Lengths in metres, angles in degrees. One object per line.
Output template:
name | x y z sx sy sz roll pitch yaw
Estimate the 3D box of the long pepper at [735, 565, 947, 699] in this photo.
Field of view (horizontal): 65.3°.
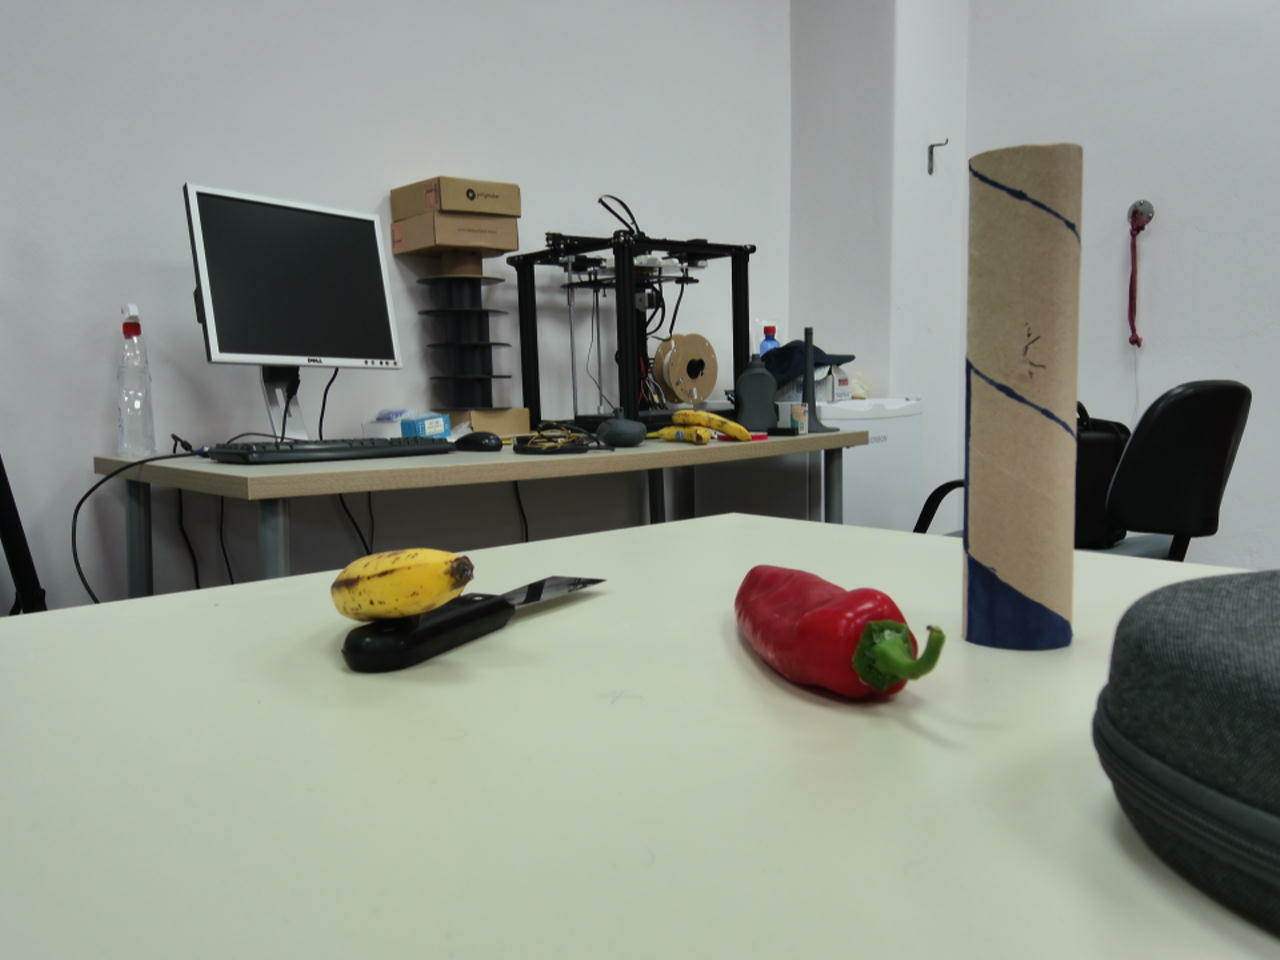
long pepper | 0.076 0.062 0.448 0.050 0.043 0.211 0 3 -9
